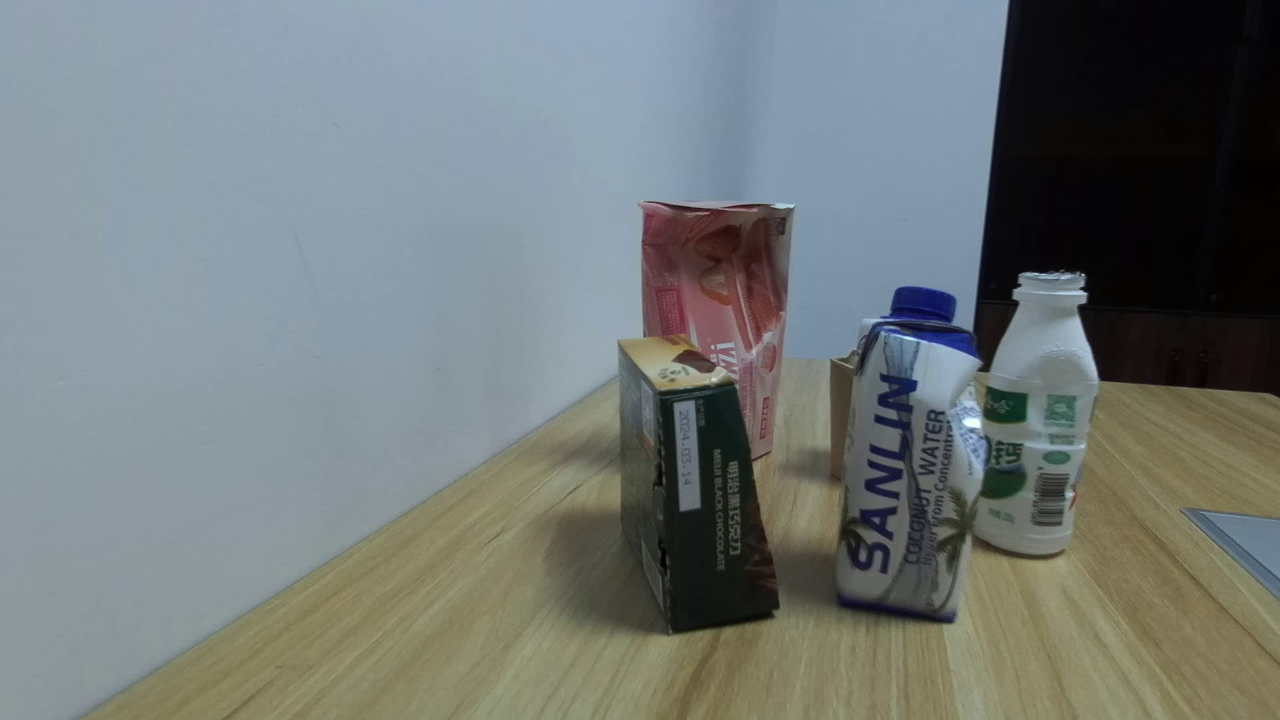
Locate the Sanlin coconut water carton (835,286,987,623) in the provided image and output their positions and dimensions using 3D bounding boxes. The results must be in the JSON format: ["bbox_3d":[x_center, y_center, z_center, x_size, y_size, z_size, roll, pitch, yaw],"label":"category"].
[{"bbox_3d":[0.129,0.044,0.334,0.060,0.143,0.070,8,5,14],"label":"Sanlin coconut water carton"}]

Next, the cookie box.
[{"bbox_3d":[0.054,-0.016,0.482,0.055,0.184,0.119,11,16,42],"label":"cookie box"}]

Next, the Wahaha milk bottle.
[{"bbox_3d":[0.210,0.028,0.380,0.055,0.149,0.055,0,11,0],"label":"Wahaha milk bottle"}]
